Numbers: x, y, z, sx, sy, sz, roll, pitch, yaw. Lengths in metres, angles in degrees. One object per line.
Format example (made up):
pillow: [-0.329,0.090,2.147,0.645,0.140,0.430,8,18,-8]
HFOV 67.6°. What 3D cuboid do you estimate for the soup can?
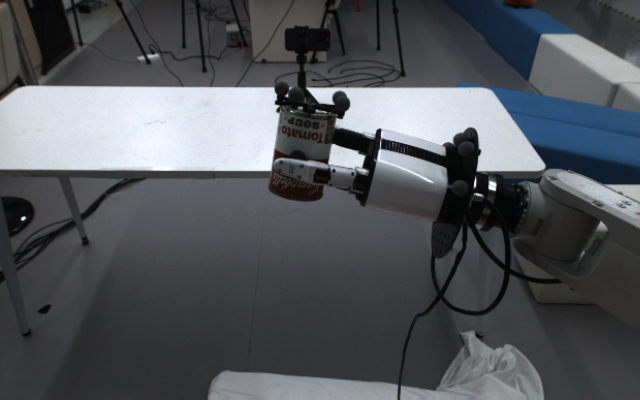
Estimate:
soup can: [-0.020,-0.058,0.575,0.067,0.101,0.067,9,20,-3]
